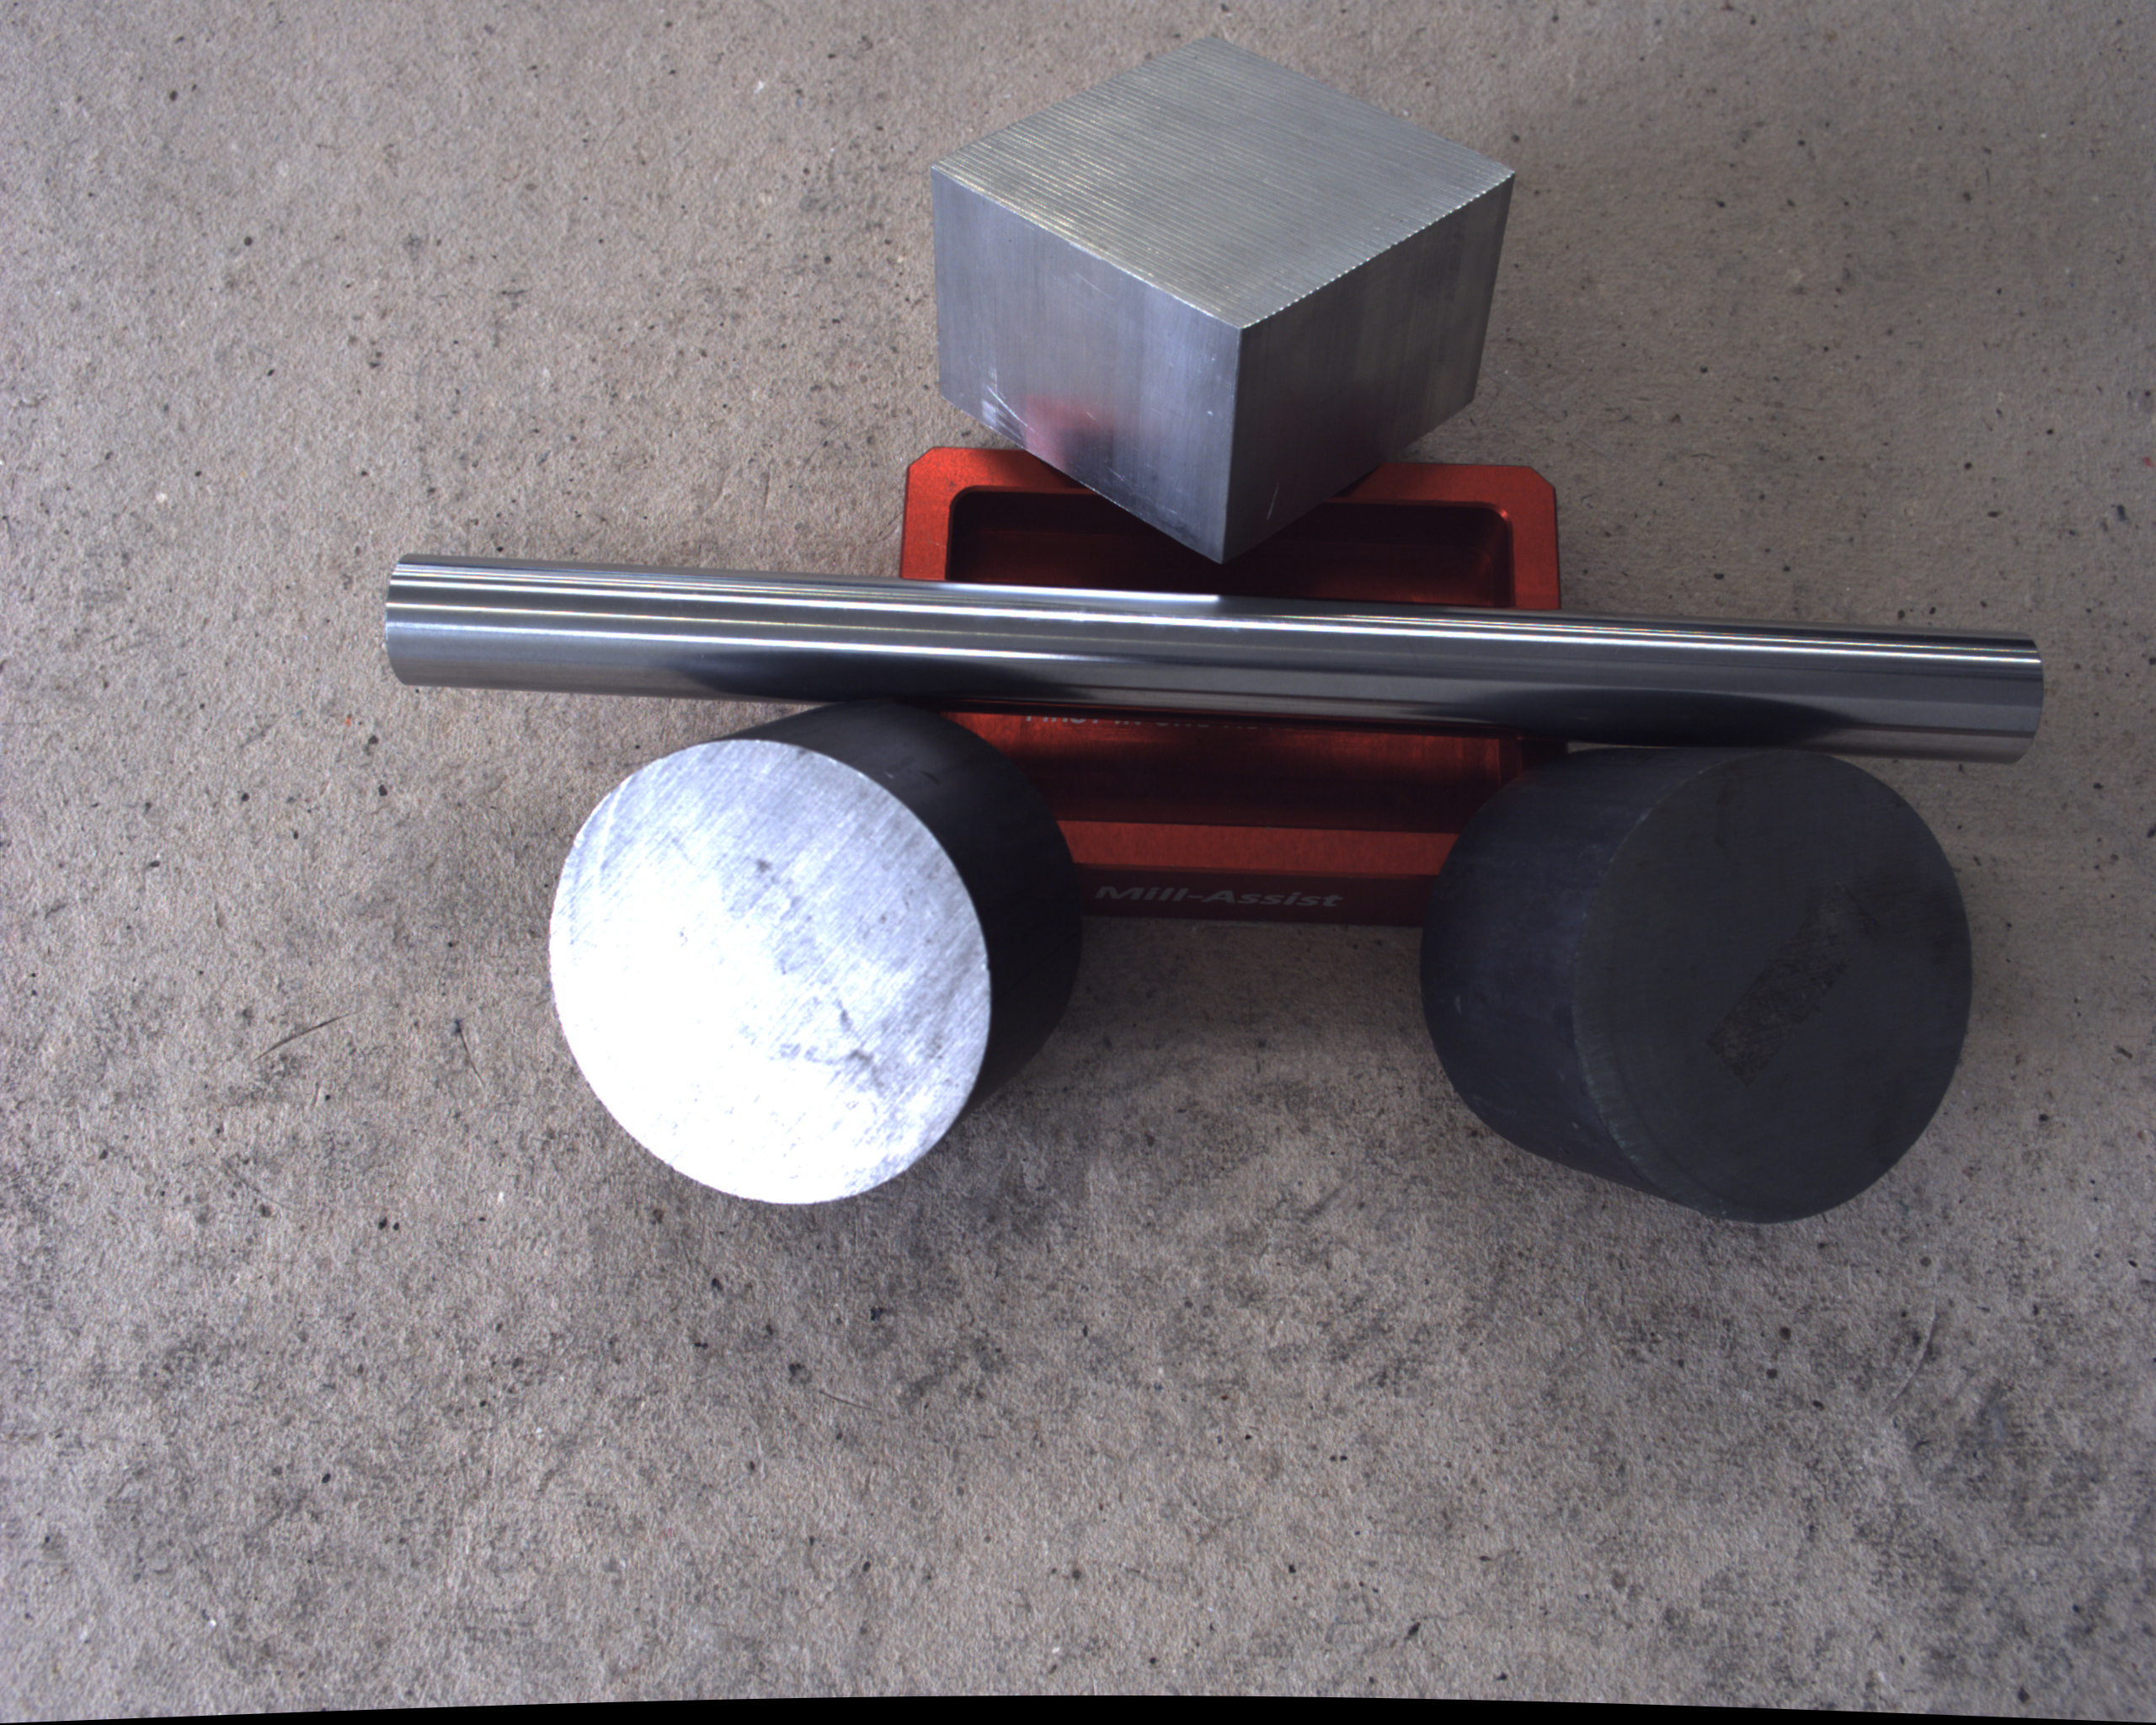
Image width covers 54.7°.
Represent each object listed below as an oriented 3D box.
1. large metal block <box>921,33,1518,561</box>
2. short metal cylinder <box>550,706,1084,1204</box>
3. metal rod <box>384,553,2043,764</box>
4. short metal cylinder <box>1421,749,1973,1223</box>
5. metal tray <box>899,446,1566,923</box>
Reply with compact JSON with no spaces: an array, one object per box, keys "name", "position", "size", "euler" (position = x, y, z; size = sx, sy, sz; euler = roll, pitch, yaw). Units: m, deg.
[{"name":"large metal block","position":[0.027,-0.115,0.415],"size":[0.080,0.050,0.080],"euler":[36,56,28]},{"name":"short metal cylinder","position":[-0.045,0.014,0.371],"size":[0.080,0.050,0.079],"euler":[3,102,17]},{"name":"metal rod","position":[0.024,-0.038,0.392],"size":[0.302,0.025,0.025],"euler":[3,70,1]},{"name":"short metal cylinder","position":[0.109,0.020,0.372],"size":[0.081,0.050,0.079],"euler":[-1,93,-19]},{"name":"metal tray","position":[0.029,-0.036,0.420],"size":[0.131,0.030,0.090],"euler":[2,70,0]}]
